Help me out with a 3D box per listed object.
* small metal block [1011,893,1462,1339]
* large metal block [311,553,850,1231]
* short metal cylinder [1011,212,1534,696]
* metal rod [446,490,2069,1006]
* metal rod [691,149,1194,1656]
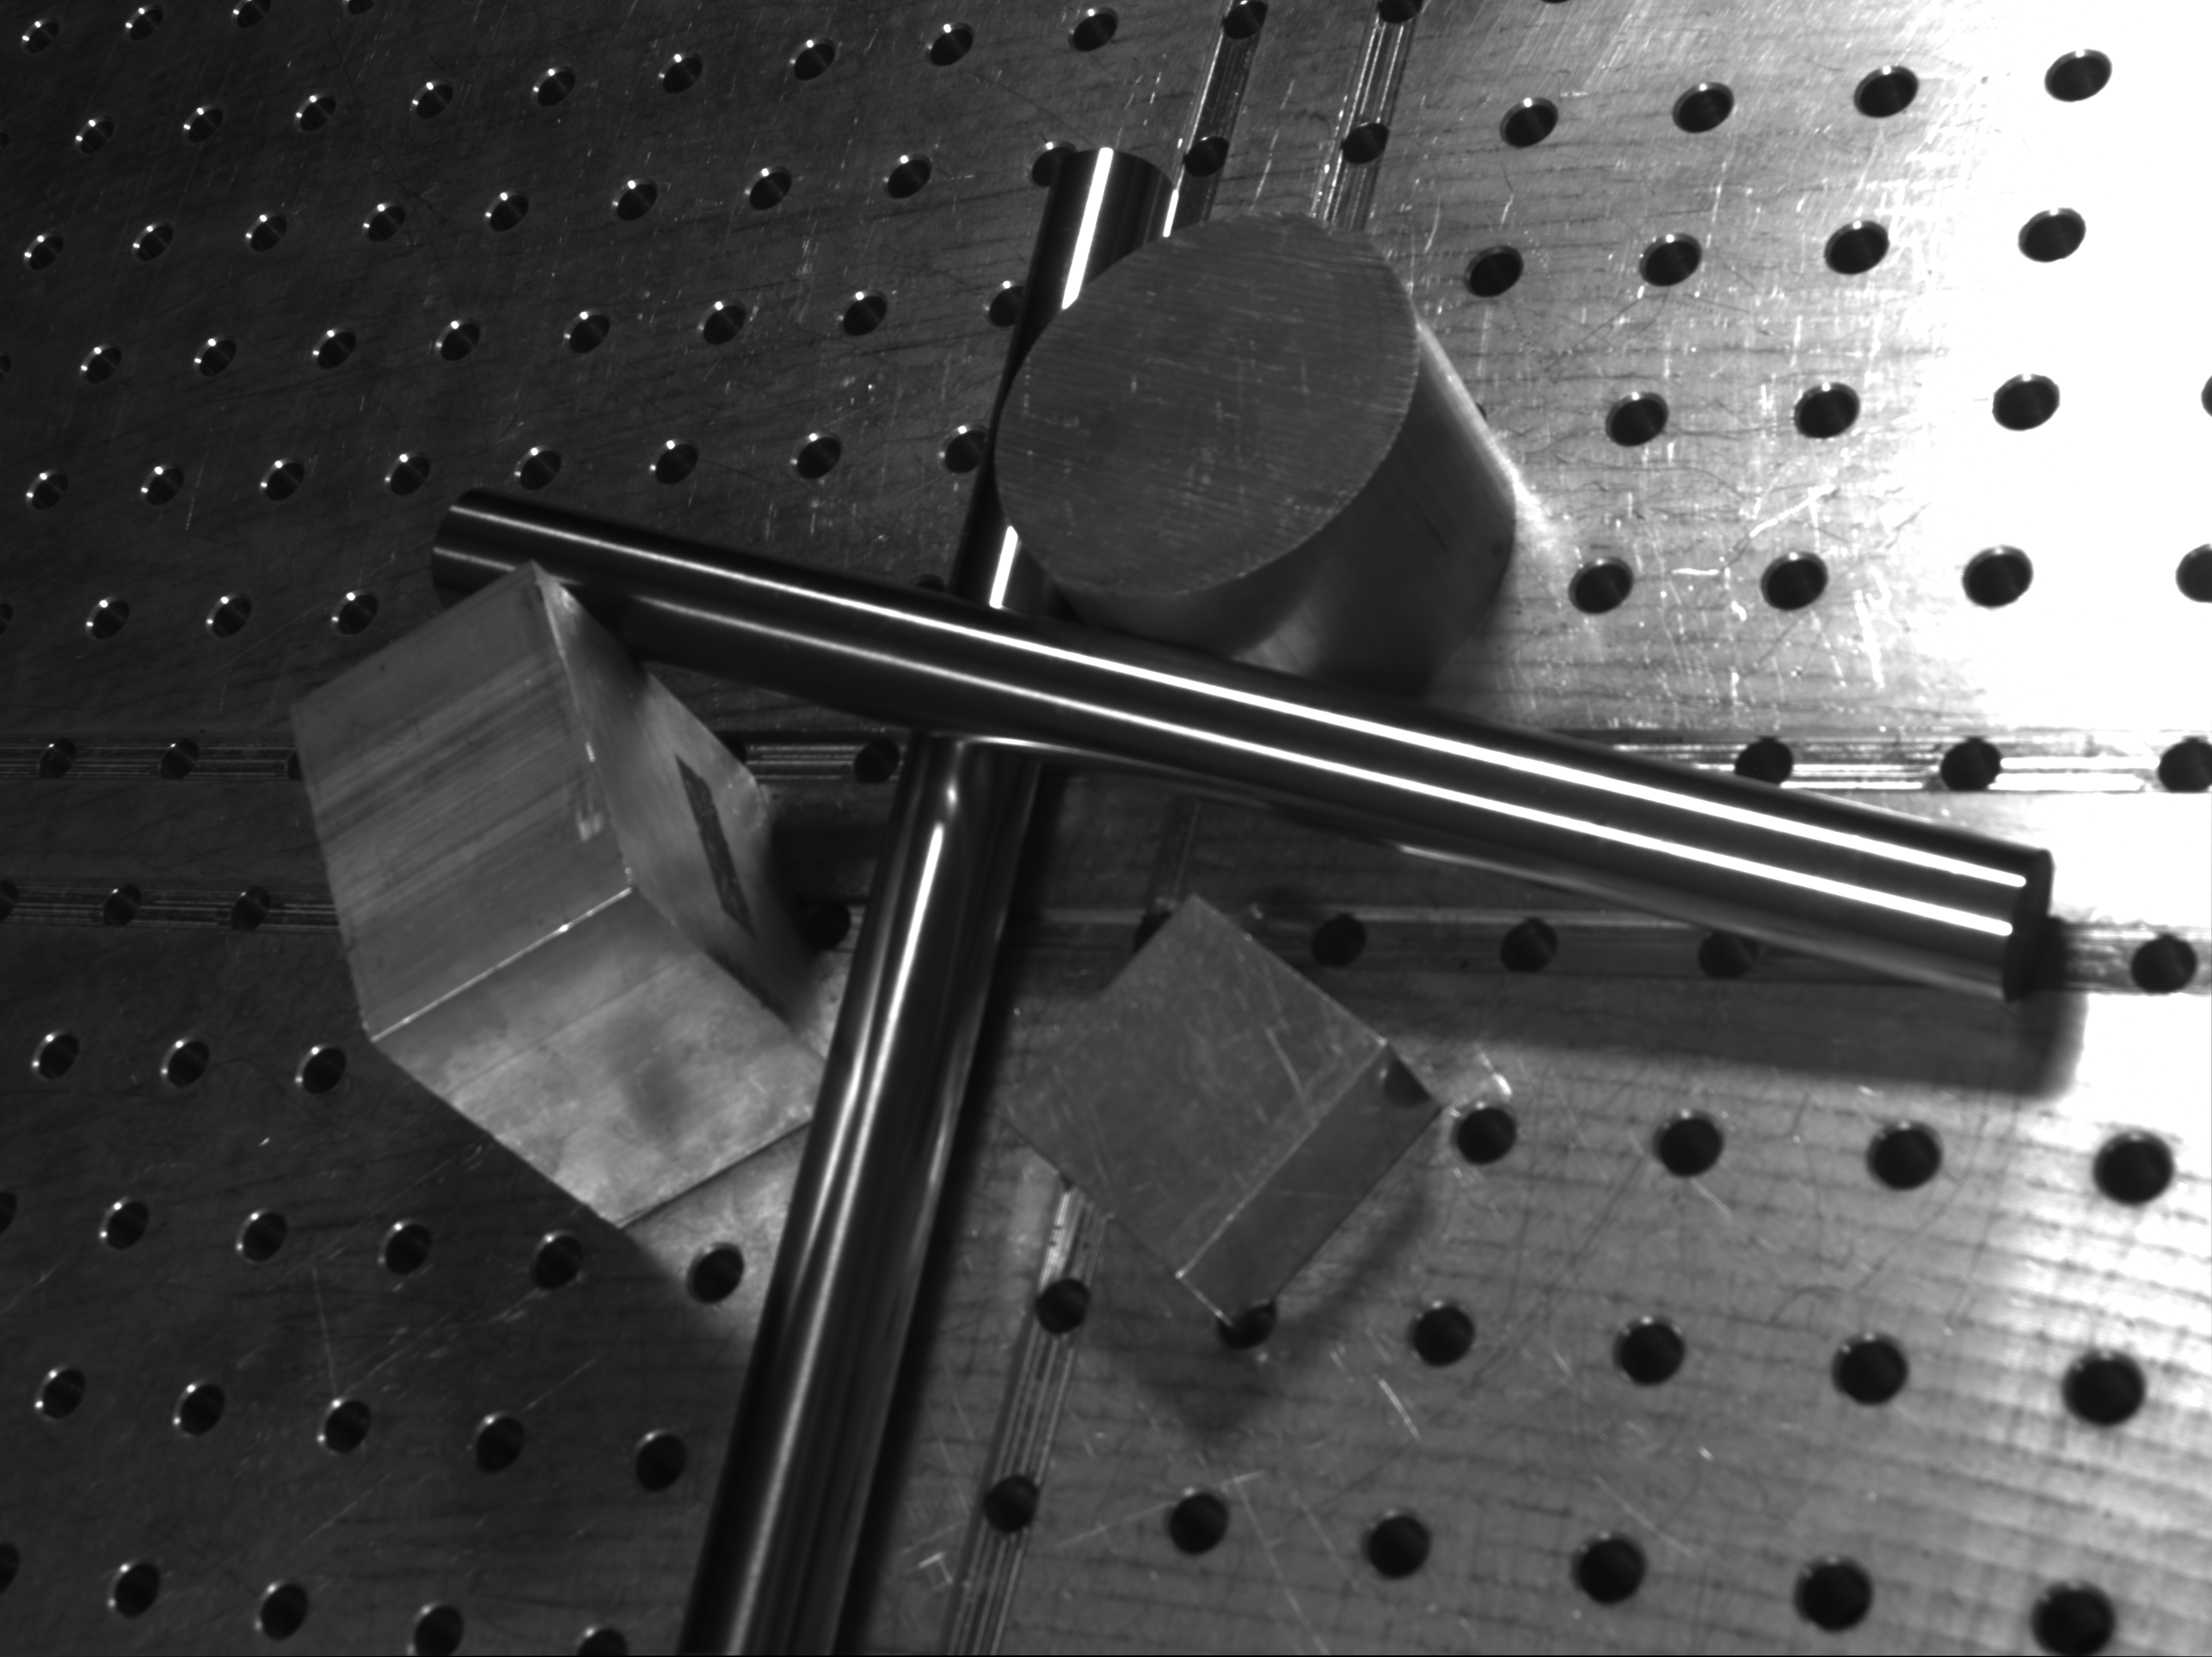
[{"bbox_3d":[0.021,0.047,0.608,0.050,0.025,0.050,-48,51,-5],"label":"small metal block"},{"bbox_3d":[-0.090,0.012,0.651,0.050,0.080,0.080,-31,51,9],"label":"large metal block"},{"bbox_3d":[0.030,-0.062,0.653,0.080,0.050,0.080,-13,56,21],"label":"short metal cylinder"},{"bbox_3d":[0.013,-0.018,0.627,0.299,0.025,0.025,14,69,26],"label":"metal rod"},{"bbox_3d":[-0.025,0.005,0.658,0.025,0.025,0.300,-2,61,28],"label":"metal rod"}]
